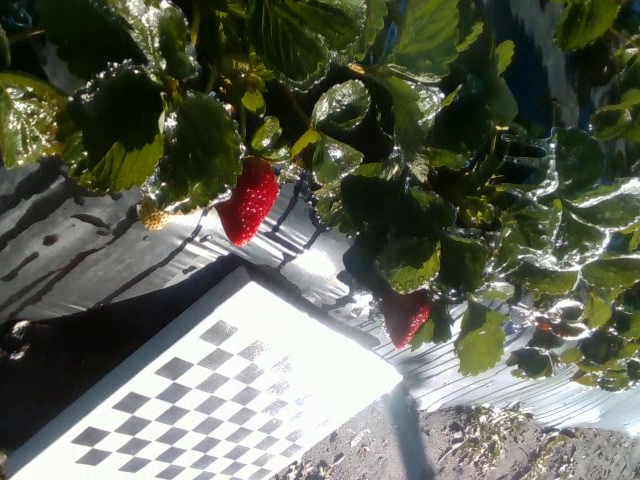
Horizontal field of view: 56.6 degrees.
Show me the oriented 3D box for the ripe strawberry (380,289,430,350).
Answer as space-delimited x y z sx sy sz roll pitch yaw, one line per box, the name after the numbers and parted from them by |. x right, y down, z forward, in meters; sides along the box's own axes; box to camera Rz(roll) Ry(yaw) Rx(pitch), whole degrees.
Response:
0.077 0.075 0.527 0.044 0.061 0.049 16 -10 43 | ripe strawberry

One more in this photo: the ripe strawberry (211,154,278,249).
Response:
-0.051 -0.021 0.363 0.046 0.061 0.043 2 -14 45 | ripe strawberry
